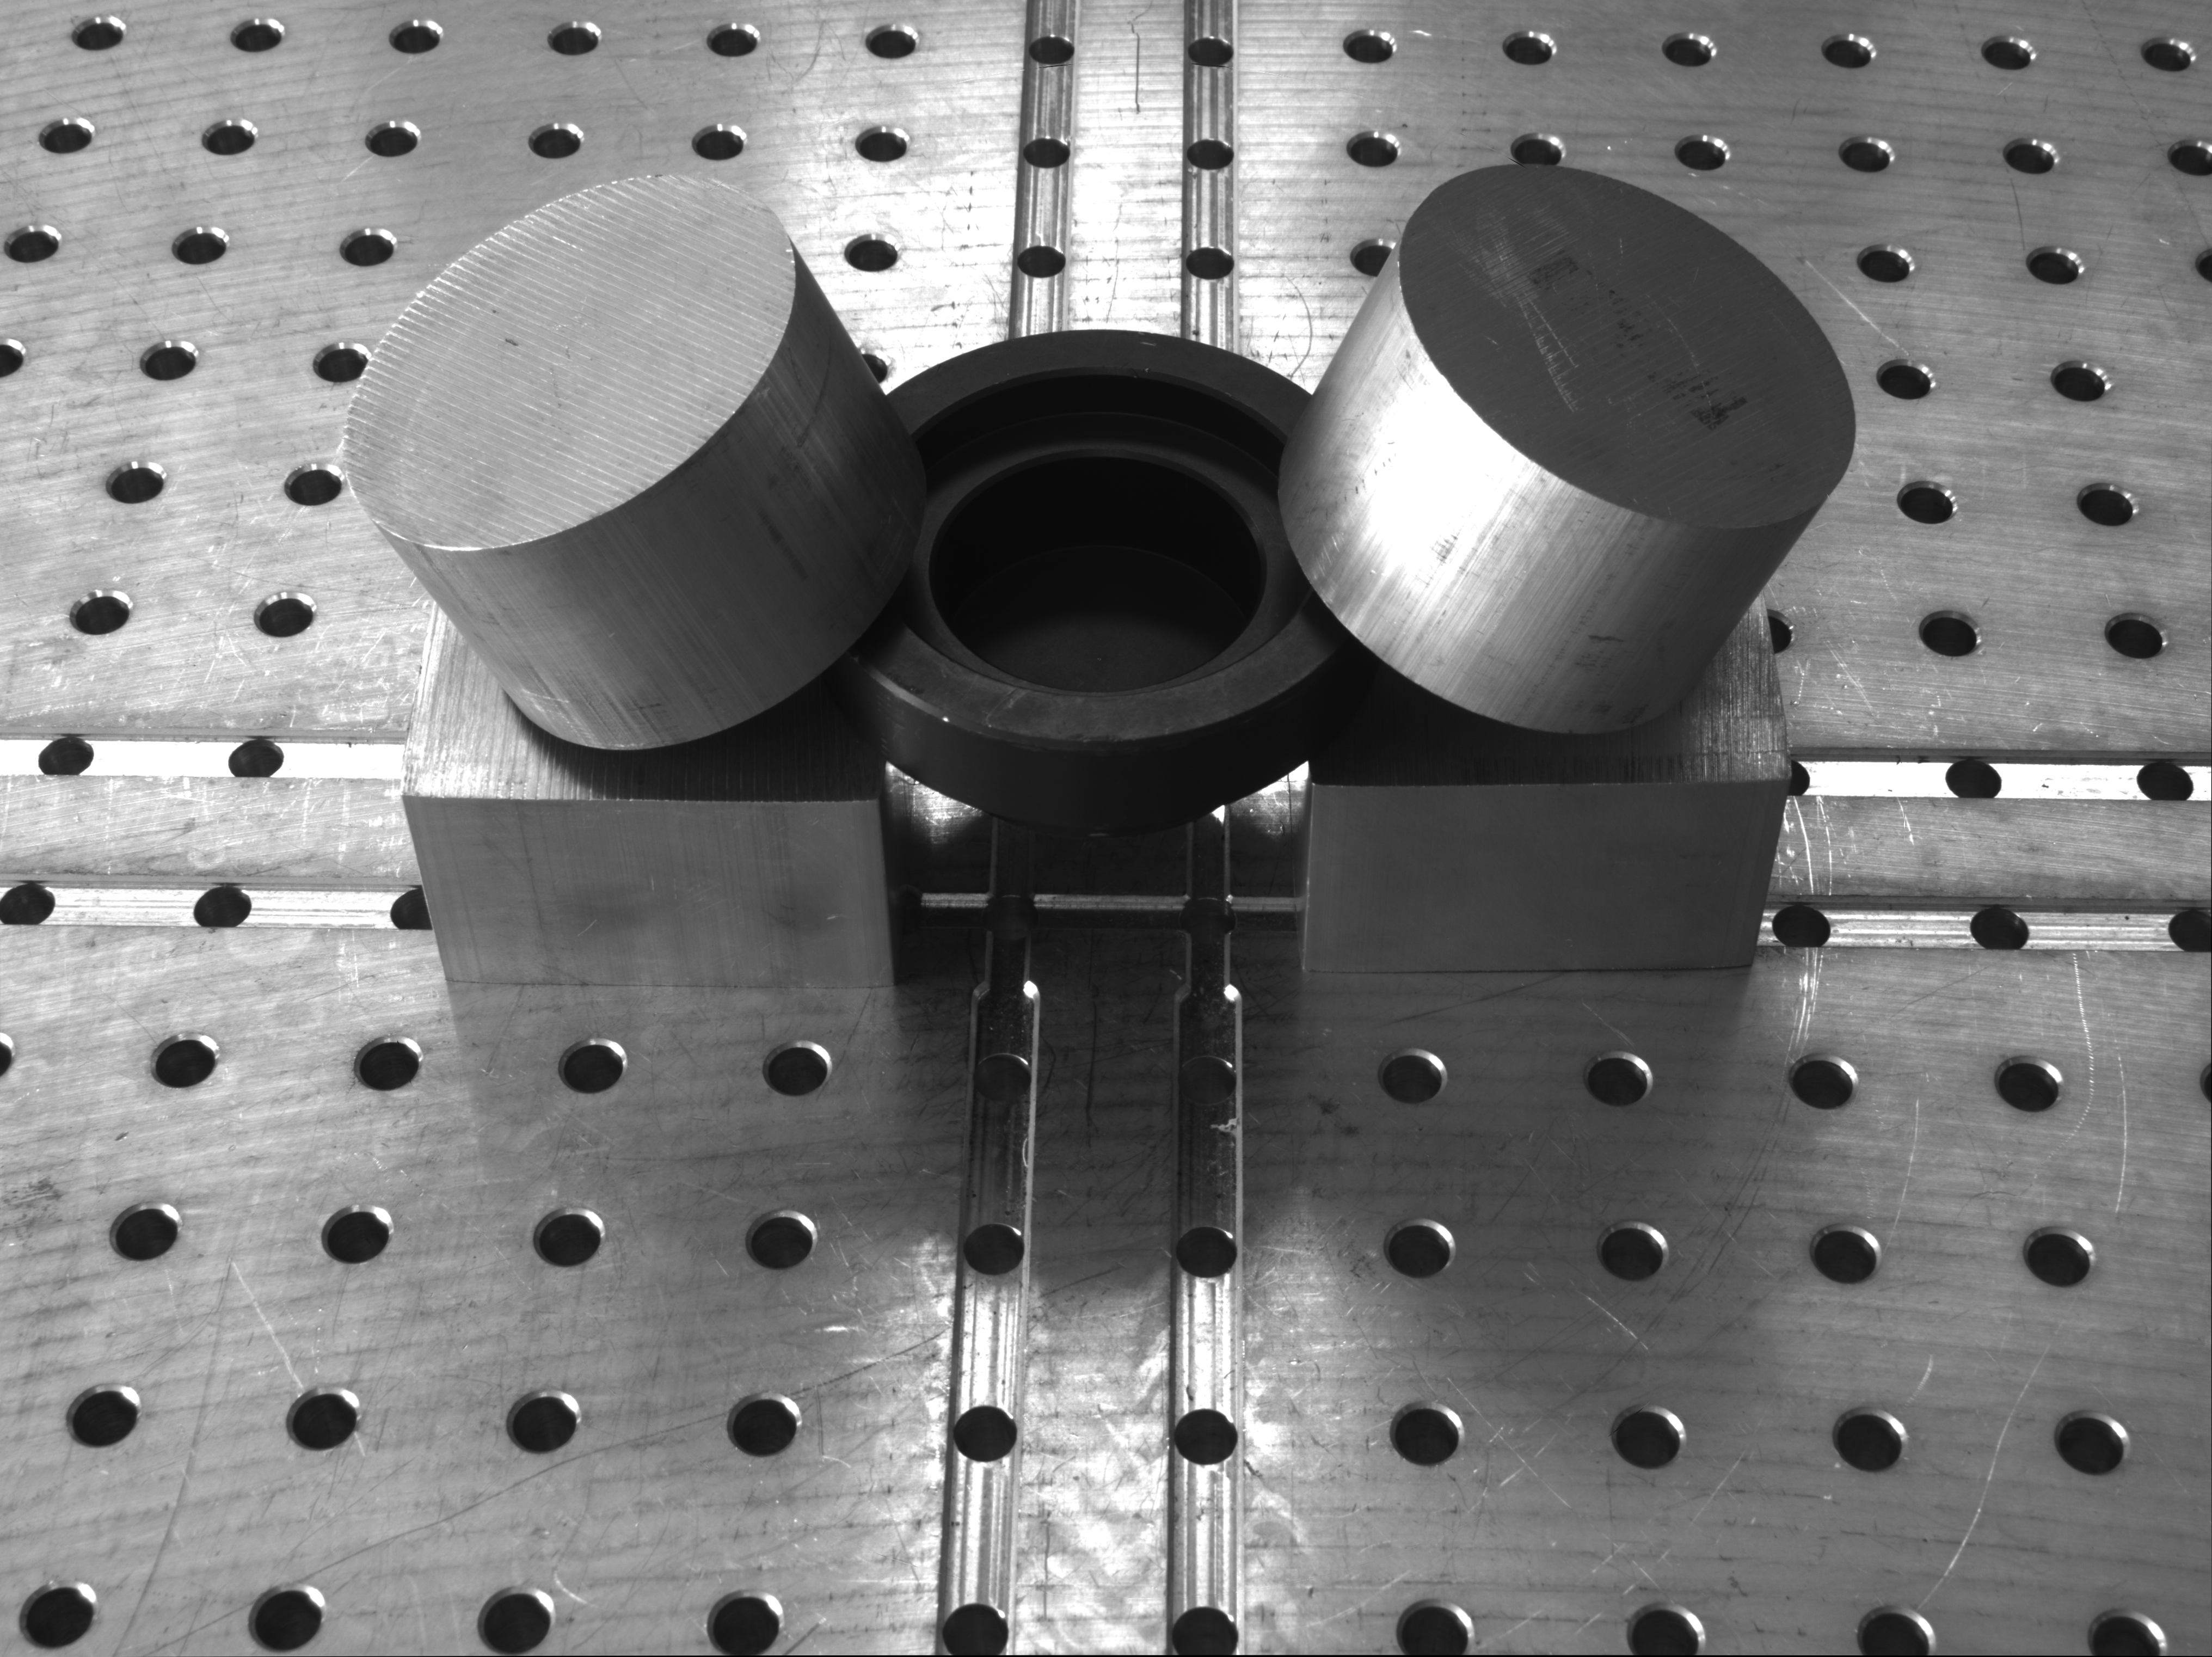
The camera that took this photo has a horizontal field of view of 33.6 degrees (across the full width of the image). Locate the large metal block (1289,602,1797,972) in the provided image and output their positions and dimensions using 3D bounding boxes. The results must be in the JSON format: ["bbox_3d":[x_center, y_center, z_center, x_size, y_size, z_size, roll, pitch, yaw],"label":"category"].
[{"bbox_3d":[0.073,-0.022,0.647,0.080,0.050,0.080,-1,50,0],"label":"large metal block"}]

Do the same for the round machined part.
[{"bbox_3d":[-0.002,-0.037,0.627,0.098,0.042,0.098,0,50,0],"label":"round machined part"}]

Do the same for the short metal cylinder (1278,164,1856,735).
[{"bbox_3d":[0.074,-0.062,0.599,0.080,0.050,0.080,13,48,-15],"label":"short metal cylinder"}]

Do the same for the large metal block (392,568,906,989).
[{"bbox_3d":[-0.076,-0.019,0.644,0.080,0.050,0.080,1,50,1],"label":"large metal block"}]

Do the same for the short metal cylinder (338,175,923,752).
[{"bbox_3d":[-0.077,-0.060,0.596,0.080,0.050,0.080,-14,49,17],"label":"short metal cylinder"}]
